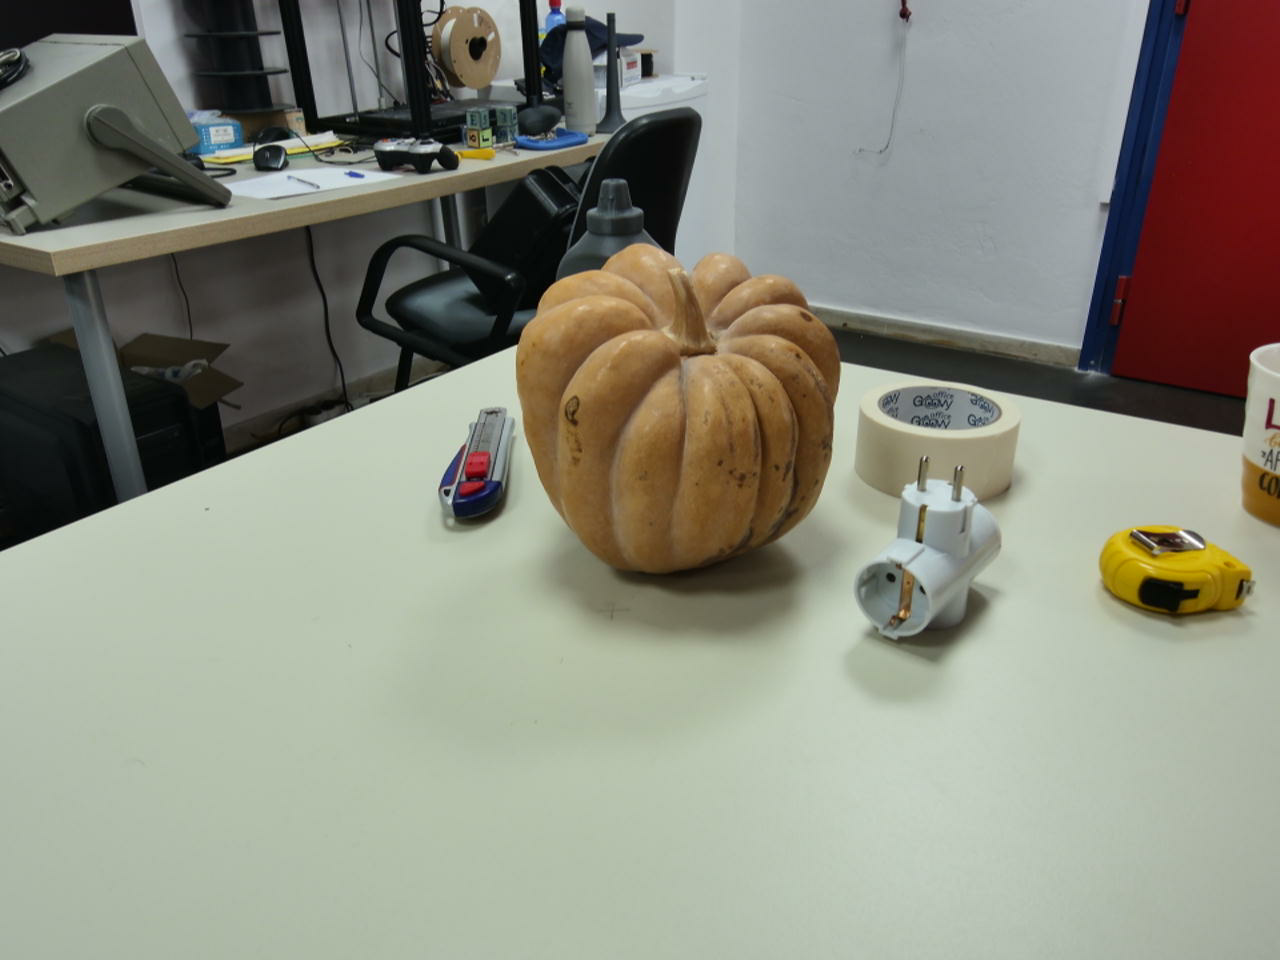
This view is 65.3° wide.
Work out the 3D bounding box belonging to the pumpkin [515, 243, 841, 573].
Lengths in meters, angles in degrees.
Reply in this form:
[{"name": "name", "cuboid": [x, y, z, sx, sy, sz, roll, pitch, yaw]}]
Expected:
[{"name": "pumpkin", "cuboid": [0.021, -0.041, 0.587, 0.199, 0.177, 0.198, -1, 25, 0]}]
